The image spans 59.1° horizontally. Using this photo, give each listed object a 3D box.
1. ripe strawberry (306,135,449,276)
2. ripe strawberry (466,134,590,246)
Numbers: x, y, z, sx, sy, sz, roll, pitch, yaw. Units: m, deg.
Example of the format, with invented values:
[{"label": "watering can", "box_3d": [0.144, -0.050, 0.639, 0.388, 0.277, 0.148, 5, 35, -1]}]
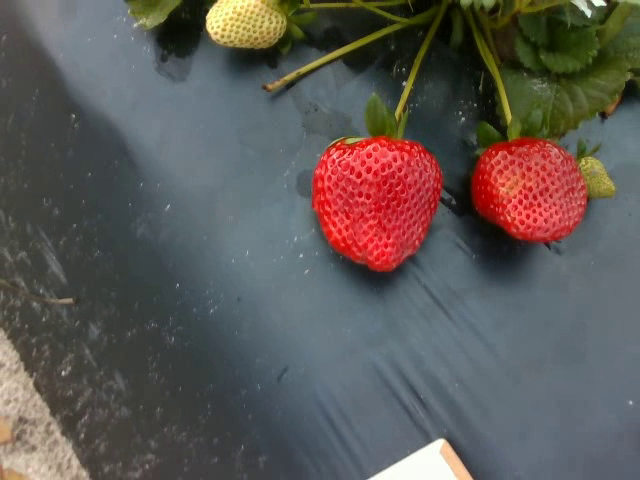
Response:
[{"label": "ripe strawberry", "box_3d": [0.022, -0.014, 0.237, 0.058, 0.065, 0.043, -8, -23, 25]}, {"label": "ripe strawberry", "box_3d": [0.088, -0.018, 0.240, 0.050, 0.051, 0.060, -14, 33, 25]}]
